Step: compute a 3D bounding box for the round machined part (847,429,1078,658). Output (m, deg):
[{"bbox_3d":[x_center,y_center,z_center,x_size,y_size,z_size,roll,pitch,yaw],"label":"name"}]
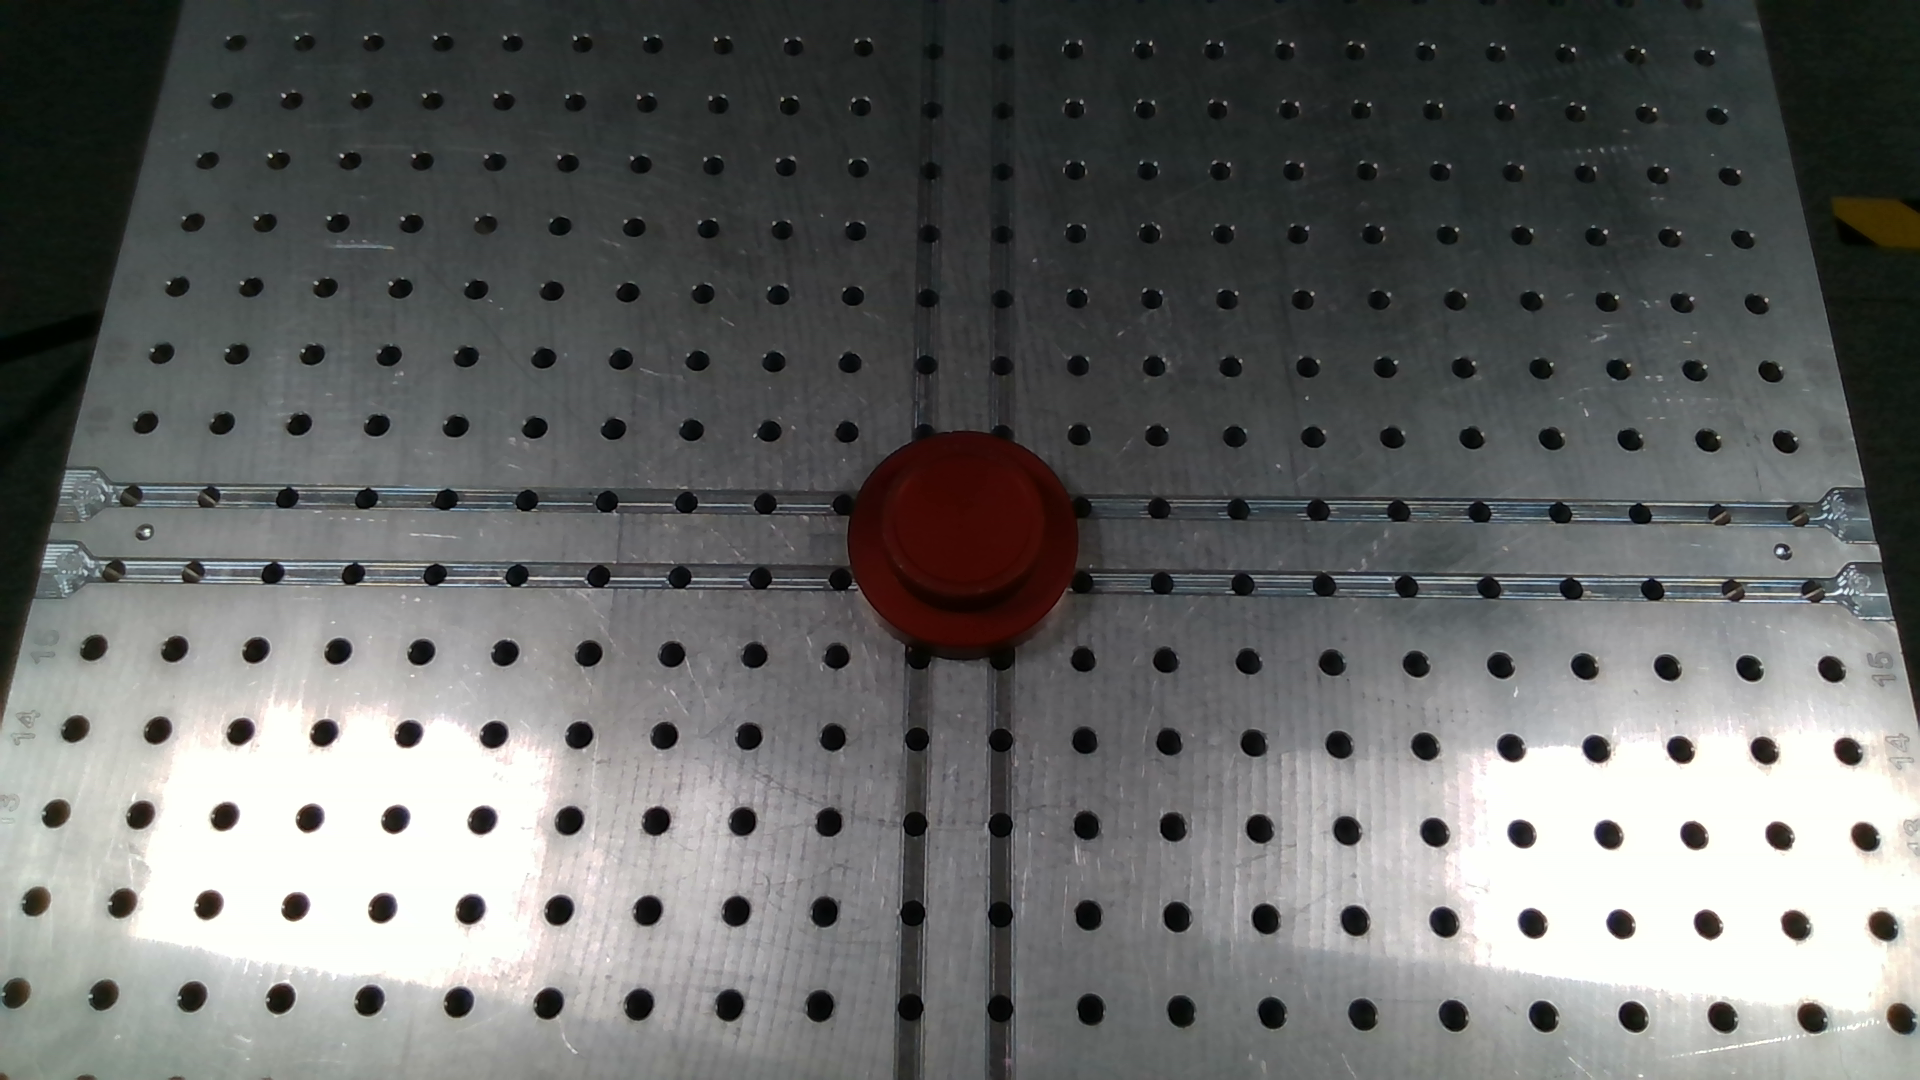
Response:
[{"bbox_3d":[0.001,-0.003,0.582,0.098,0.042,0.098,0,70,0],"label":"round machined part"}]
